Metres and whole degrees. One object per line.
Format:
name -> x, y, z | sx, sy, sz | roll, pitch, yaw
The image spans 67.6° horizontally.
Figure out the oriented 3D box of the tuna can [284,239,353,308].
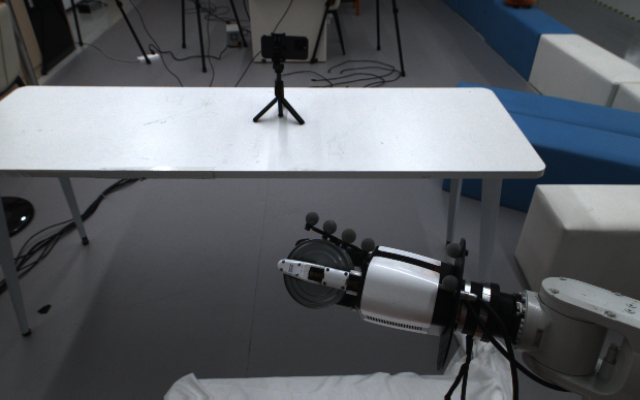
tuna can -> 0.003, 0.091, 0.609 | 0.085, 0.085, 0.034 | 13, -5, 16
